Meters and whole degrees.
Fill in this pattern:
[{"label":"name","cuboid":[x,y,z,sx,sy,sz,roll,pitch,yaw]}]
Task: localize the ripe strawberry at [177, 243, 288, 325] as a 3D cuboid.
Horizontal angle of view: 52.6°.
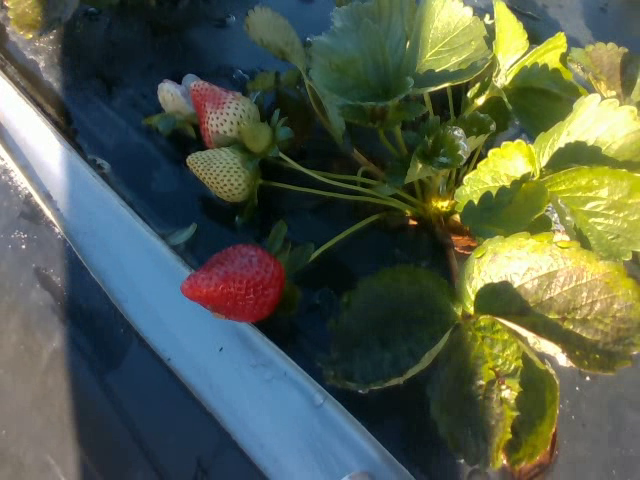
[{"label":"ripe strawberry","cuboid":[-0.034,0.015,0.233,0.045,0.038,0.036,9,33,-53]}]
